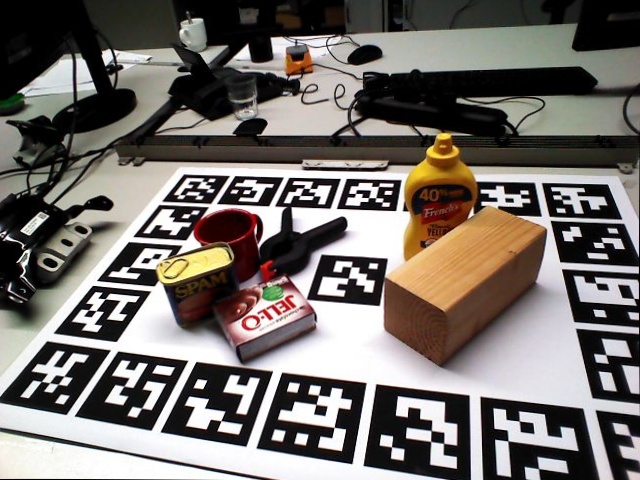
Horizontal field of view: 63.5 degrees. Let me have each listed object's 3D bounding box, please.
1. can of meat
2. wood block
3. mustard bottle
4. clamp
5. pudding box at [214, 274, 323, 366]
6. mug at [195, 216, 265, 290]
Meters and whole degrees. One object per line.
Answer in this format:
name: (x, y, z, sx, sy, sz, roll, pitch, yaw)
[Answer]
can of meat: (-0.160, 0.060, 0.684, 0.102, 0.084, 0.057, -16, 39, -11)
wood block: (0.190, 0.051, 0.639, 0.205, 0.091, 0.090, -30, 40, -29)
mustard bottle: (0.165, -0.058, 0.693, 0.096, 0.192, 0.058, -1, 39, 10)
clamp: (-0.034, 0.000, 0.794, 0.122, 0.037, 0.164, 17, 46, 27)
pudding box: (-0.066, 0.099, 0.662, 0.113, 0.039, 0.090, -21, 40, -19)
mug: (-0.123, 0.017, 0.780, 0.094, 0.082, 0.116, 19, 46, 30)
